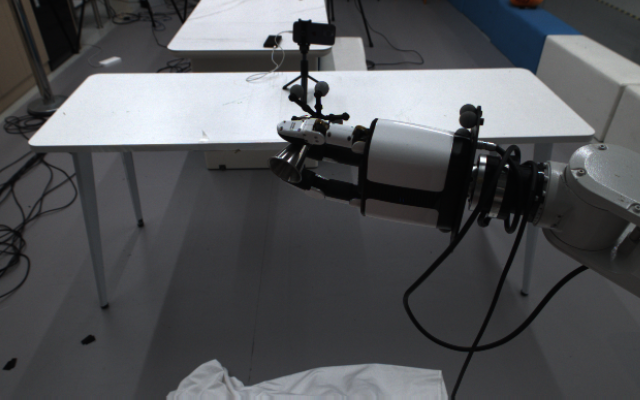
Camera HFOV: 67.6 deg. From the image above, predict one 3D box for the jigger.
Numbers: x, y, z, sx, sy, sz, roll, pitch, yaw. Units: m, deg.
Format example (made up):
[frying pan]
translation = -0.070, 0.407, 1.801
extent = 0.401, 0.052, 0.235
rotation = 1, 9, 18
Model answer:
[jigger]
translation = -0.025, -0.062, 0.556
extent = 0.043, 0.043, 0.071
rotation = 19, 61, 23
